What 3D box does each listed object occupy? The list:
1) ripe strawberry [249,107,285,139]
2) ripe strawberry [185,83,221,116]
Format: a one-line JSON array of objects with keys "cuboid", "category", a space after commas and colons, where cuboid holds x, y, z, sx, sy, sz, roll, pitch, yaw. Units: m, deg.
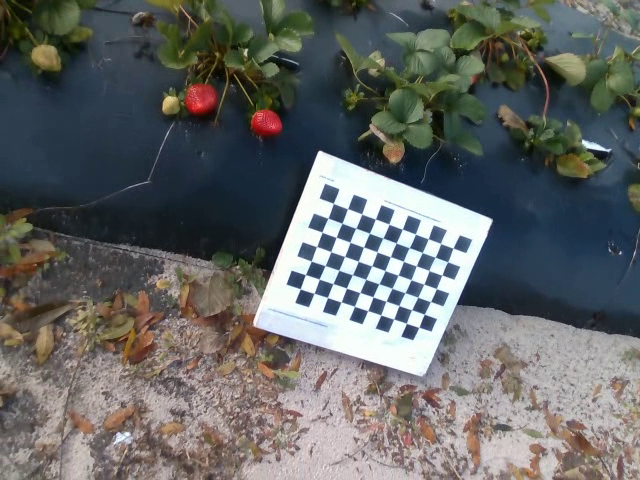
[{"cuboid": [-0.047, -0.120, 0.733, 0.034, 0.037, 0.039, 27, 15, -37], "category": "ripe strawberry"}, {"cuboid": [-0.110, -0.139, 0.709, 0.035, 0.041, 0.036, 5, 35, -11], "category": "ripe strawberry"}]
